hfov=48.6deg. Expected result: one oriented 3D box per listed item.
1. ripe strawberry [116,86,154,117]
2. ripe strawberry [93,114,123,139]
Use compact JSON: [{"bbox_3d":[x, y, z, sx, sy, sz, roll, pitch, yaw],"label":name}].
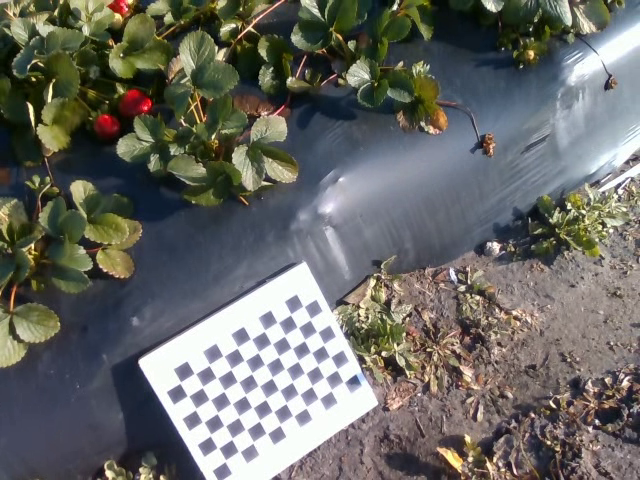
[{"bbox_3d":[-0.281,-0.207,1.023,0.057,0.052,0.046,26,0,31],"label":"ripe strawberry"},{"bbox_3d":[-0.320,-0.171,1.006,0.051,0.043,0.036,19,3,29],"label":"ripe strawberry"}]
